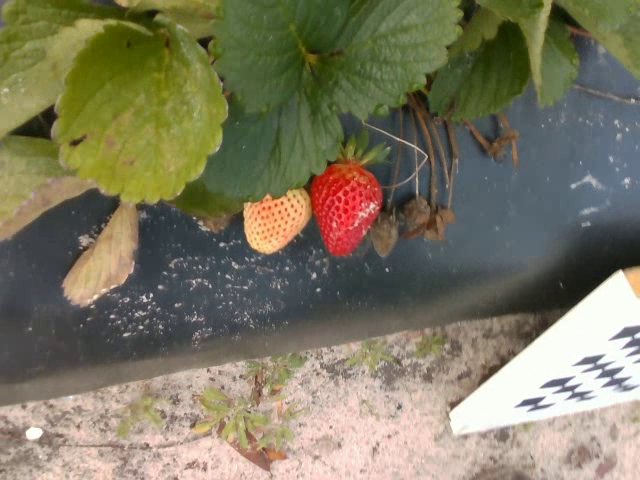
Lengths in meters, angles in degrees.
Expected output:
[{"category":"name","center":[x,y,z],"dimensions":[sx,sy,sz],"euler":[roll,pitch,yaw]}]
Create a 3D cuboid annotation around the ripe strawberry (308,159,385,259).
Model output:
[{"category":"ripe strawberry","center":[0.010,-0.011,0.238],"dimensions":[0.034,0.042,0.033],"euler":[17,-13,-40]}]
